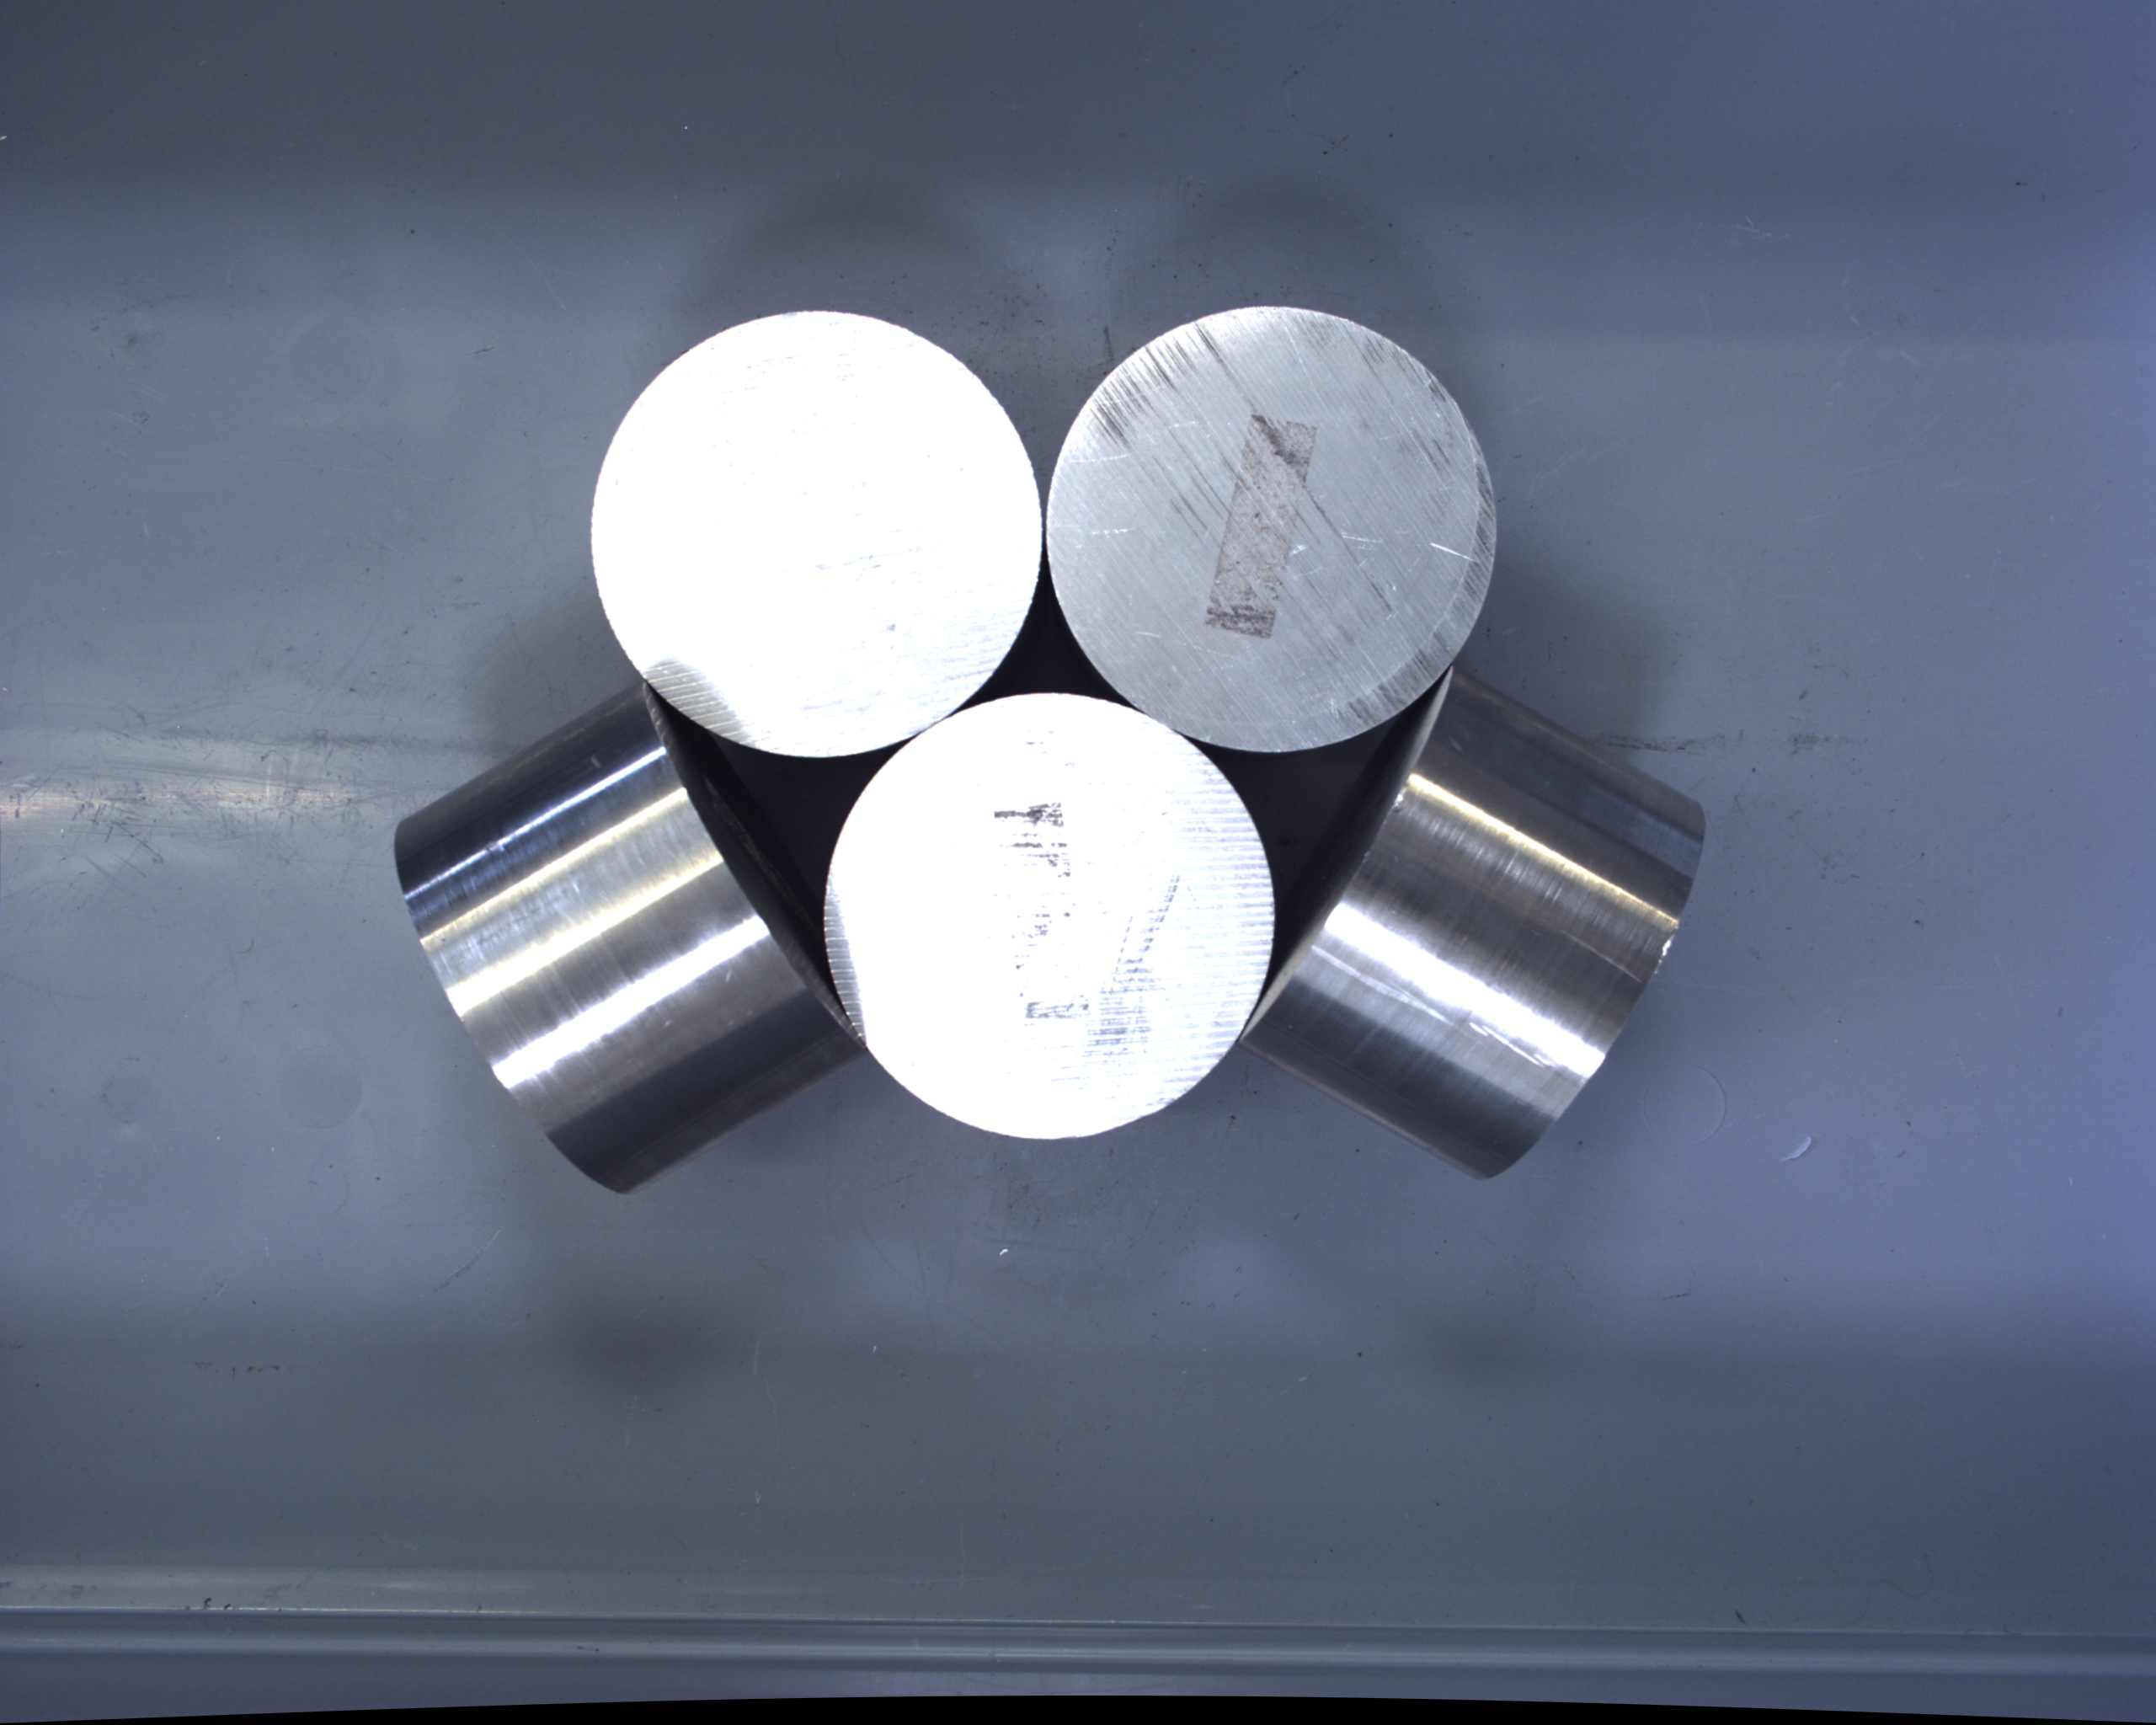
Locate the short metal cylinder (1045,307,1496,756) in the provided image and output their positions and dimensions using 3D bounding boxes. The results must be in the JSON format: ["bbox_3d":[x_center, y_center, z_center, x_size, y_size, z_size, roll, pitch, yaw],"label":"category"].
[{"bbox_3d":[0.034,-0.060,0.397,0.081,0.050,0.080,0,90,0],"label":"short metal cylinder"}]

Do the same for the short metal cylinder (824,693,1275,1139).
[{"bbox_3d":[-0.005,0.009,0.397,0.081,0.050,0.080,0,90,0],"label":"short metal cylinder"}]

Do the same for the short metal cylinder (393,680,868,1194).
[{"bbox_3d":[-0.079,0.013,0.382,0.050,0.080,0.080,-30,90,0],"label":"short metal cylinder"}]

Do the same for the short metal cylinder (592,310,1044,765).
[{"bbox_3d":[-0.046,-0.059,0.397,0.081,0.050,0.080,0,90,0],"label":"short metal cylinder"}]

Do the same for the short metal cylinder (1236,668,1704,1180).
[{"bbox_3d":[0.070,0.011,0.382,0.050,0.080,0.080,30,90,0],"label":"short metal cylinder"}]
